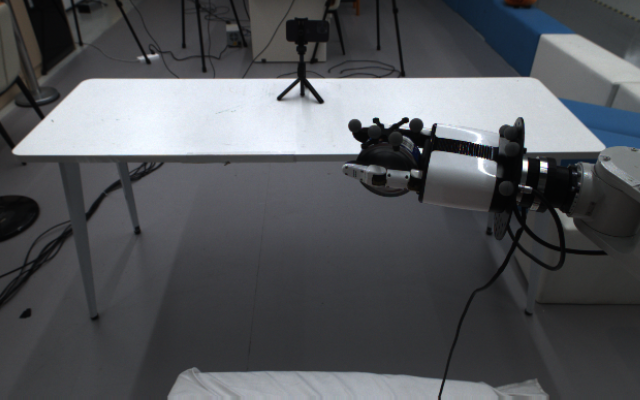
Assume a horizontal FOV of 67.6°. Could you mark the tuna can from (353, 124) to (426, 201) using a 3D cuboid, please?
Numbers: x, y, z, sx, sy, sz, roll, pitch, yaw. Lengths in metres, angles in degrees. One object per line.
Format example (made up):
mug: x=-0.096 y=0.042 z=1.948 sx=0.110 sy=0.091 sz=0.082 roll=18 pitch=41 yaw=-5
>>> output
tuna can: x=0.094 y=-0.049 z=0.654 sx=0.085 sy=0.085 sz=0.034 roll=12 pitch=39 yaw=13
